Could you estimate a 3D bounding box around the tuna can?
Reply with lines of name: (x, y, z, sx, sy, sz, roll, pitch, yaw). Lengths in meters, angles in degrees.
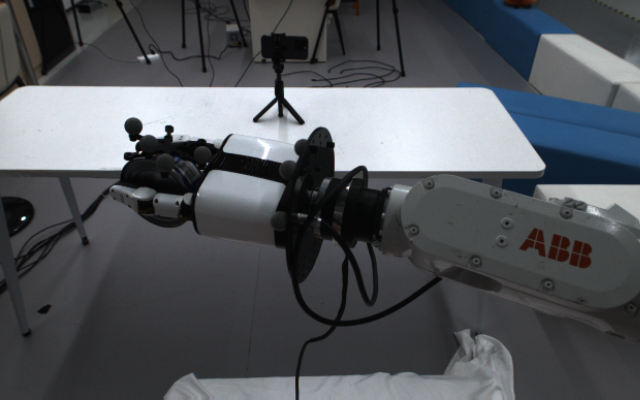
tuna can: (-0.166, -0.014, 0.522, 0.085, 0.085, 0.034, 12, 33, 14)
